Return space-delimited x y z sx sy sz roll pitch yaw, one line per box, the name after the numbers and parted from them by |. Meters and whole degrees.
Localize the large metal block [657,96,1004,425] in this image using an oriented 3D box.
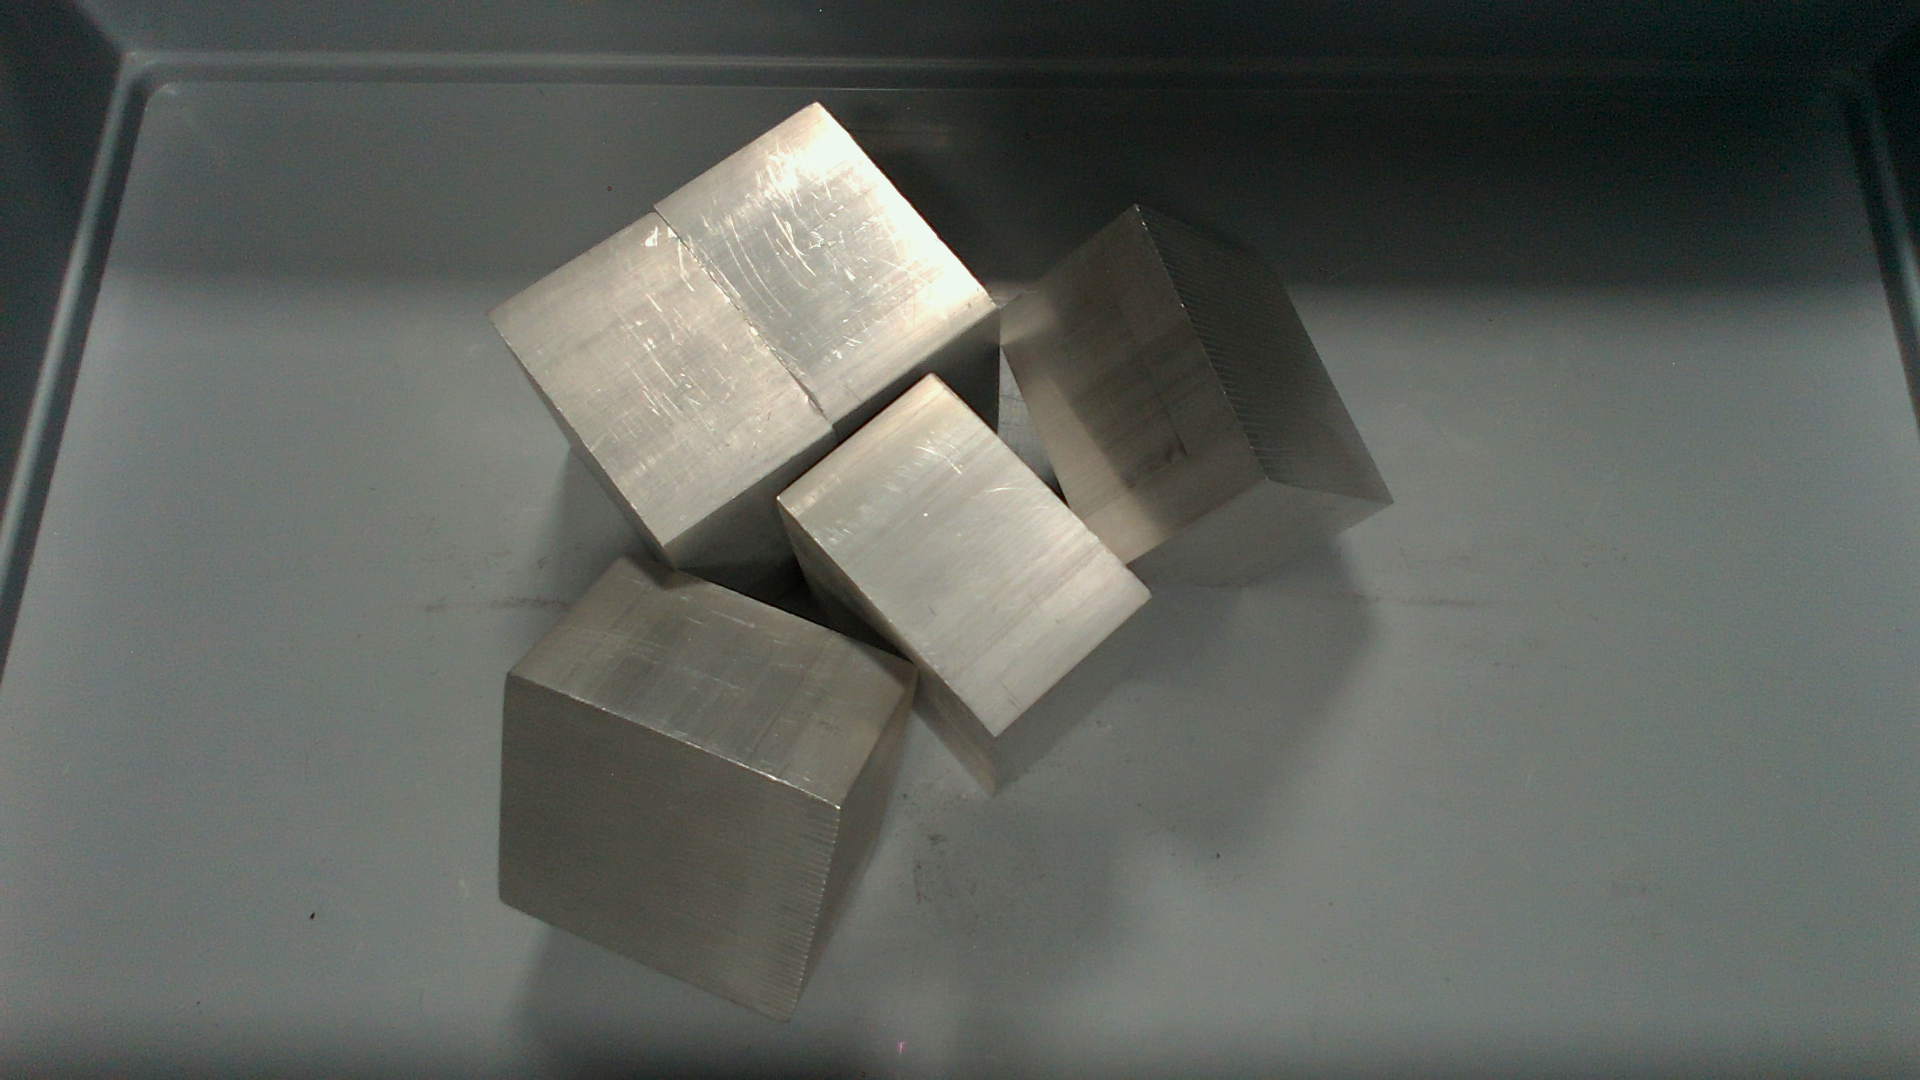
-0.033 -0.060 0.386 0.050 0.080 0.080 -37 74 -12 | large metal block

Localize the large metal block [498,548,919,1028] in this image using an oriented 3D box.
-0.062 0.060 0.335 0.080 0.080 0.050 21 37 7 | large metal block

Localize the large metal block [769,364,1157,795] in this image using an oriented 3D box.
0.000 0.014 0.358 0.050 0.080 0.080 -40 75 -13 | large metal block

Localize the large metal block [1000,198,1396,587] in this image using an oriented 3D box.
0.063 -0.035 0.370 0.050 0.080 0.080 -34 68 31 | large metal block

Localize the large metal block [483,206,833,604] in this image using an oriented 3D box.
-0.075 -0.028 0.375 0.050 0.080 0.080 -36 74 -12 | large metal block
